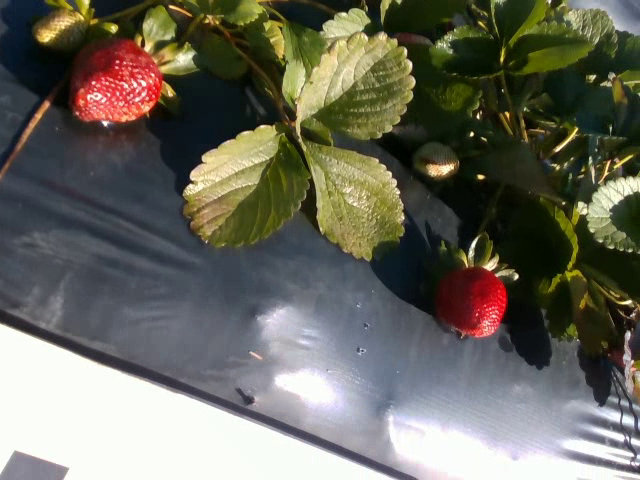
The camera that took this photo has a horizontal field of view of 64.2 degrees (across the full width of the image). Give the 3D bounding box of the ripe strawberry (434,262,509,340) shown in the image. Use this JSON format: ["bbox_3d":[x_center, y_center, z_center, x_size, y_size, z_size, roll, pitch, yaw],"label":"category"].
[{"bbox_3d":[0.080,0.038,0.268,0.043,0.043,0.050,-23,10,20],"label":"ripe strawberry"}]

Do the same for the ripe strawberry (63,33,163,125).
[{"bbox_3d":[-0.091,-0.066,0.217,0.043,0.041,0.053,-40,20,28],"label":"ripe strawberry"}]
